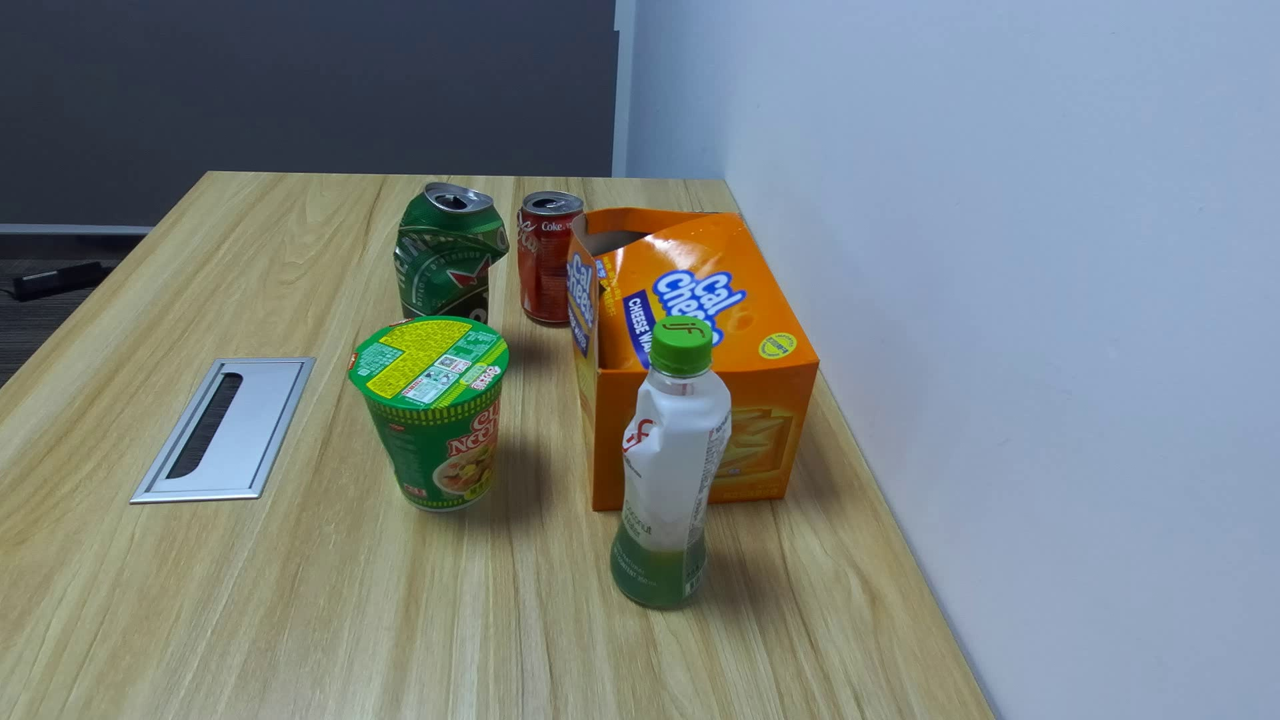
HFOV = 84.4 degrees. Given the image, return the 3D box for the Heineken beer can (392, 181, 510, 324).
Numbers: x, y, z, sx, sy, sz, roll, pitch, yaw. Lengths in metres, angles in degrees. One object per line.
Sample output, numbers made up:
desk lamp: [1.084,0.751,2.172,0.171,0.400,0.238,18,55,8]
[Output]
Heineken beer can: [-0.159,-0.064,0.581,0.079,0.159,0.067,-12,42,-30]

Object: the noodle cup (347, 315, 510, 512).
noodle cup: [-0.136,0.041,0.482,0.097,0.110,0.097,3,38,-2]

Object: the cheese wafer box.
cheese wafer box: [0.026,-0.012,0.555,0.152,0.132,0.230,-3,39,-9]

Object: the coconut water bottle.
coconut water bottle: [0.017,0.058,0.404,0.069,0.186,0.069,2,36,-1]

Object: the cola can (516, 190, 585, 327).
cola can: [-0.078,-0.095,0.660,0.066,0.117,0.065,-5,35,-14]
